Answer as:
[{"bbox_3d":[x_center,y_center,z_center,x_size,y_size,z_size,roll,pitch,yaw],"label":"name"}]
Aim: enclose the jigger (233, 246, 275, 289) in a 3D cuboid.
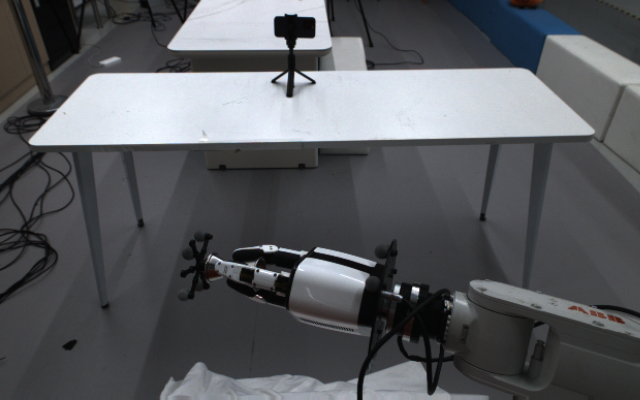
[{"bbox_3d":[-0.103,0.089,0.625,0.071,0.043,0.043,6,35,14],"label":"jigger"}]
